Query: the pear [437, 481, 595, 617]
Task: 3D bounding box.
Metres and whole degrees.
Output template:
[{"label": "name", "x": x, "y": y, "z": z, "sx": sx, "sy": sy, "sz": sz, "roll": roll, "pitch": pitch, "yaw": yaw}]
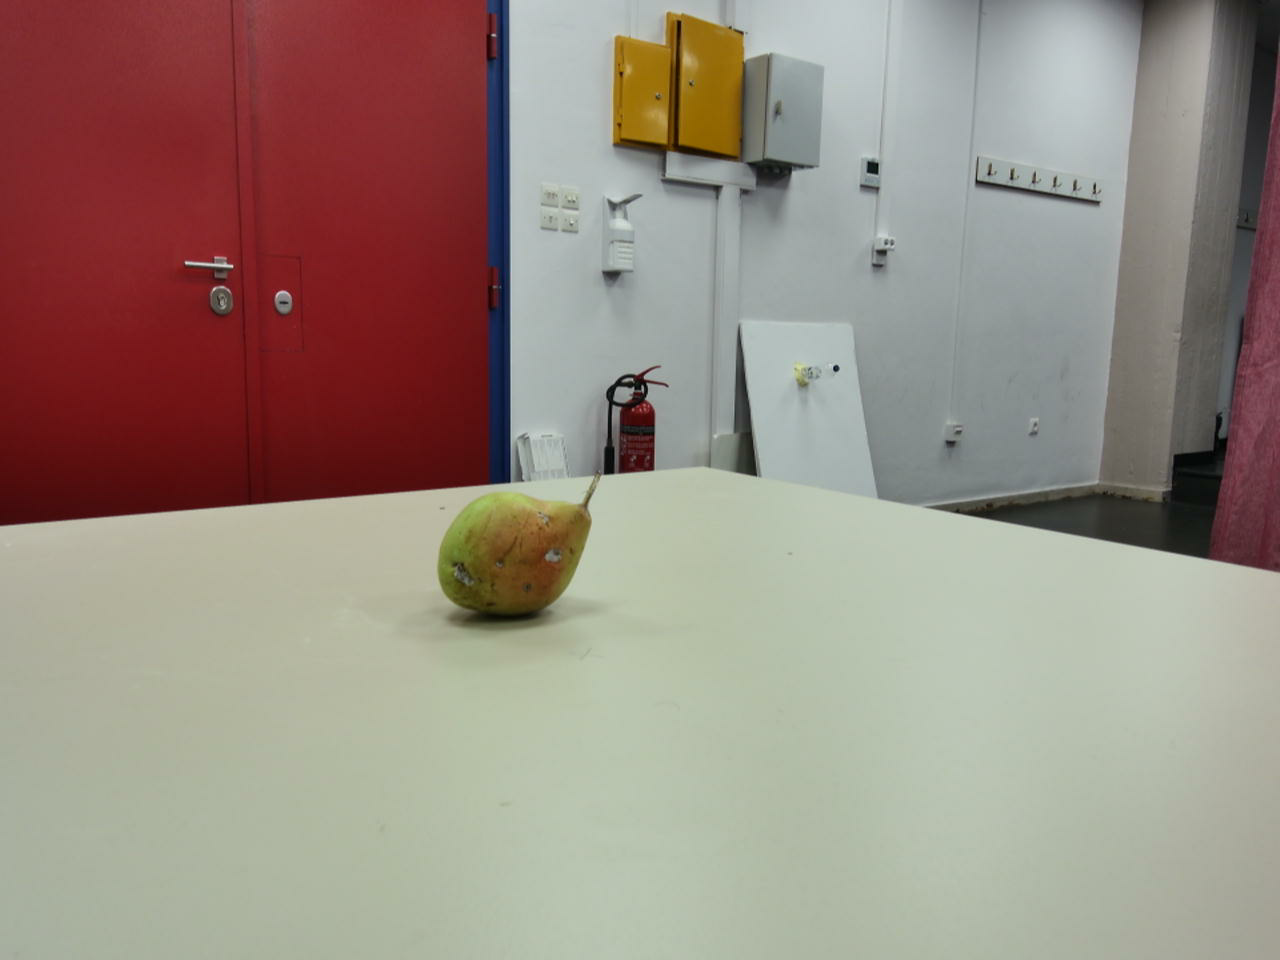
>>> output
[{"label": "pear", "x": -0.064, "y": 0.034, "z": 0.511, "sx": 0.070, "sy": 0.069, "sz": 0.068, "roll": 1, "pitch": 6, "yaw": 14}]
